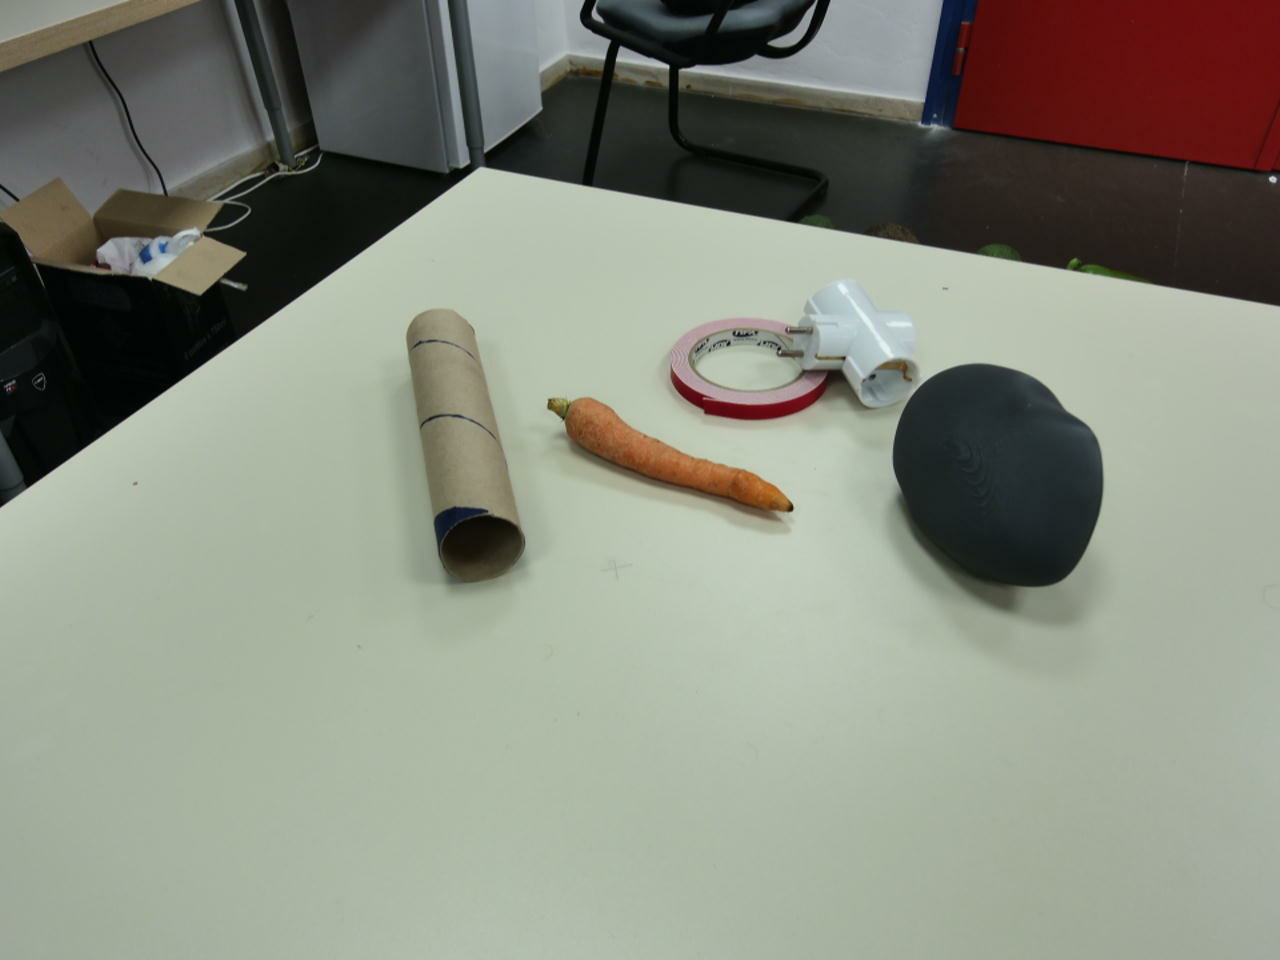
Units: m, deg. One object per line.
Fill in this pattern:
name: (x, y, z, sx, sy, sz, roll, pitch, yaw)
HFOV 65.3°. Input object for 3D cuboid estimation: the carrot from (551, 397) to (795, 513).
carrot: (0.016, -0.015, 0.616, 0.173, 0.032, 0.030, 22, 44, 26)
